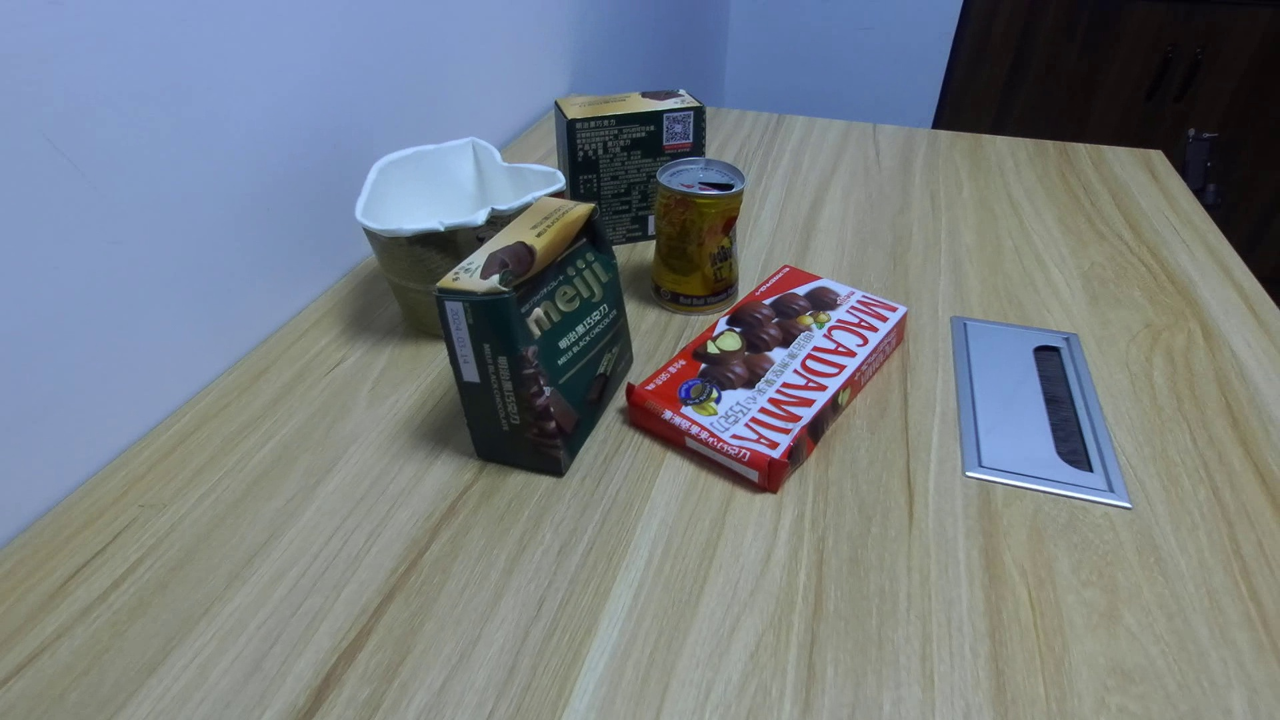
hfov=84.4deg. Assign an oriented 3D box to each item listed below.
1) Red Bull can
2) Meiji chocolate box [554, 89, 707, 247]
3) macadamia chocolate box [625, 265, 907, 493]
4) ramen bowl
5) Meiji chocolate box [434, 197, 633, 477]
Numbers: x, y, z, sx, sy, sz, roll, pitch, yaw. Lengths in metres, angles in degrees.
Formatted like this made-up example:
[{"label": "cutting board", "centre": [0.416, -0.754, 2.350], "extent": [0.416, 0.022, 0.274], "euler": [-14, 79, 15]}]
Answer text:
[{"label": "Red Bull can", "centre": [0.040, -0.086, 0.492], "extent": [0.072, 0.092, 0.072], "euler": [1, 37, 0]}, {"label": "Meiji chocolate box", "centre": [-0.008, -0.155, 0.571], "extent": [0.113, 0.111, 0.058], "euler": [-10, 37, -13]}, {"label": "macadamia chocolate box", "centre": [0.084, 0.001, 0.434], "extent": [0.105, 0.028, 0.183], "euler": [25, 44, 29]}, {"label": "ramen bowl", "centre": [-0.122, -0.079, 0.478], "extent": [0.113, 0.097, 0.134], "euler": [27, 45, 30]}, {"label": "Meiji chocolate box", "centre": [-0.051, -0.018, 0.391], "extent": [0.051, 0.117, 0.117], "euler": [6, 36, 22]}]
